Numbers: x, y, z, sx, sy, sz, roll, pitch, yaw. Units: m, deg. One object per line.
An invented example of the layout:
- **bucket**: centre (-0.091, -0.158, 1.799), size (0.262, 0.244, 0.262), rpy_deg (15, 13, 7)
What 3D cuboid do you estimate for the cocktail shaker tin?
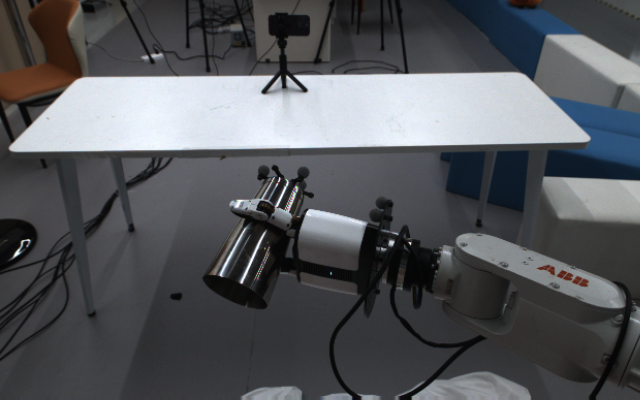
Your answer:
- **cocktail shaker tin**: centre (-0.084, 0.052, 0.668), size (0.093, 0.093, 0.170), rpy_deg (14, 58, 16)
